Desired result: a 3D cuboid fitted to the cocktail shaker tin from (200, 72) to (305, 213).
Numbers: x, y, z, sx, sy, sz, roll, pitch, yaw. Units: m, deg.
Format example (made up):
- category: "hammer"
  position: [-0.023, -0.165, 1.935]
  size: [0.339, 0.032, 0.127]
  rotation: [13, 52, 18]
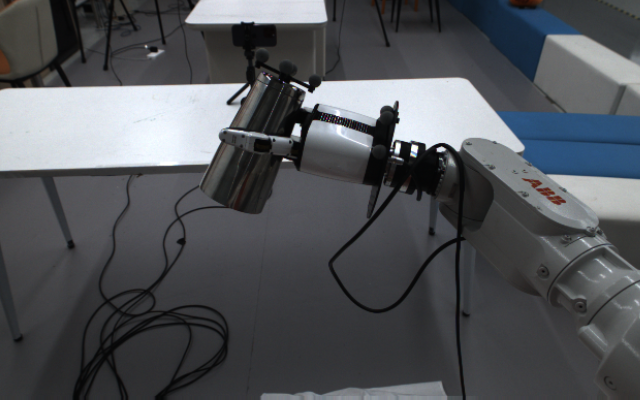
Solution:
- category: "cocktail shaker tin"
  position: [-0.082, -0.079, 0.639]
  size: [0.093, 0.170, 0.093]
  rotation: [24, 12, -6]
